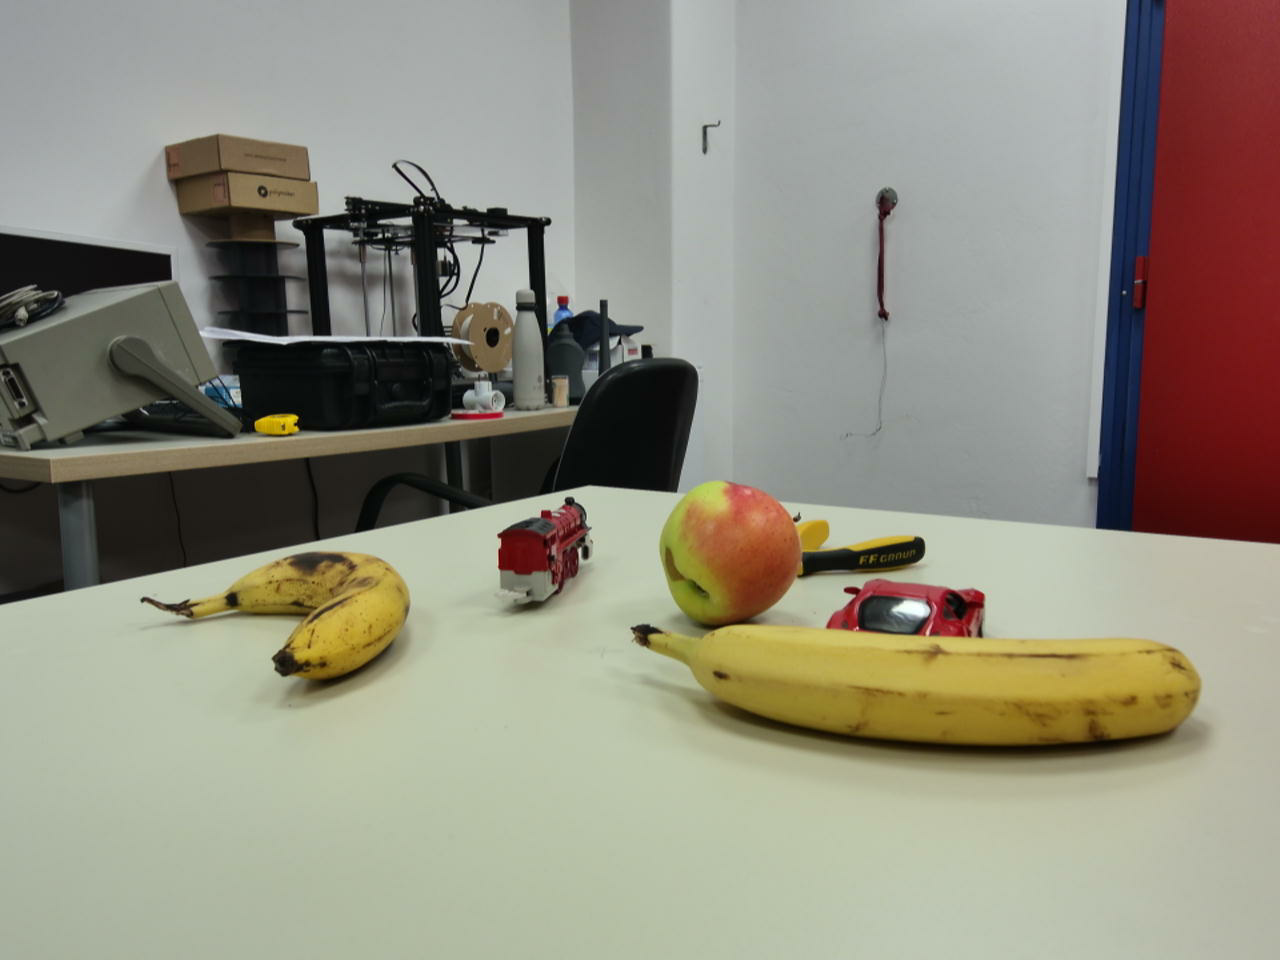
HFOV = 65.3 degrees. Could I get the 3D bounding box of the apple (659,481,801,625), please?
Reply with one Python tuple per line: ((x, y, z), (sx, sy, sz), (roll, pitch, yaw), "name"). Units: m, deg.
((0.046, 0.039, 0.534), (0.075, 0.074, 0.075), (0, 6, 16), "apple")
